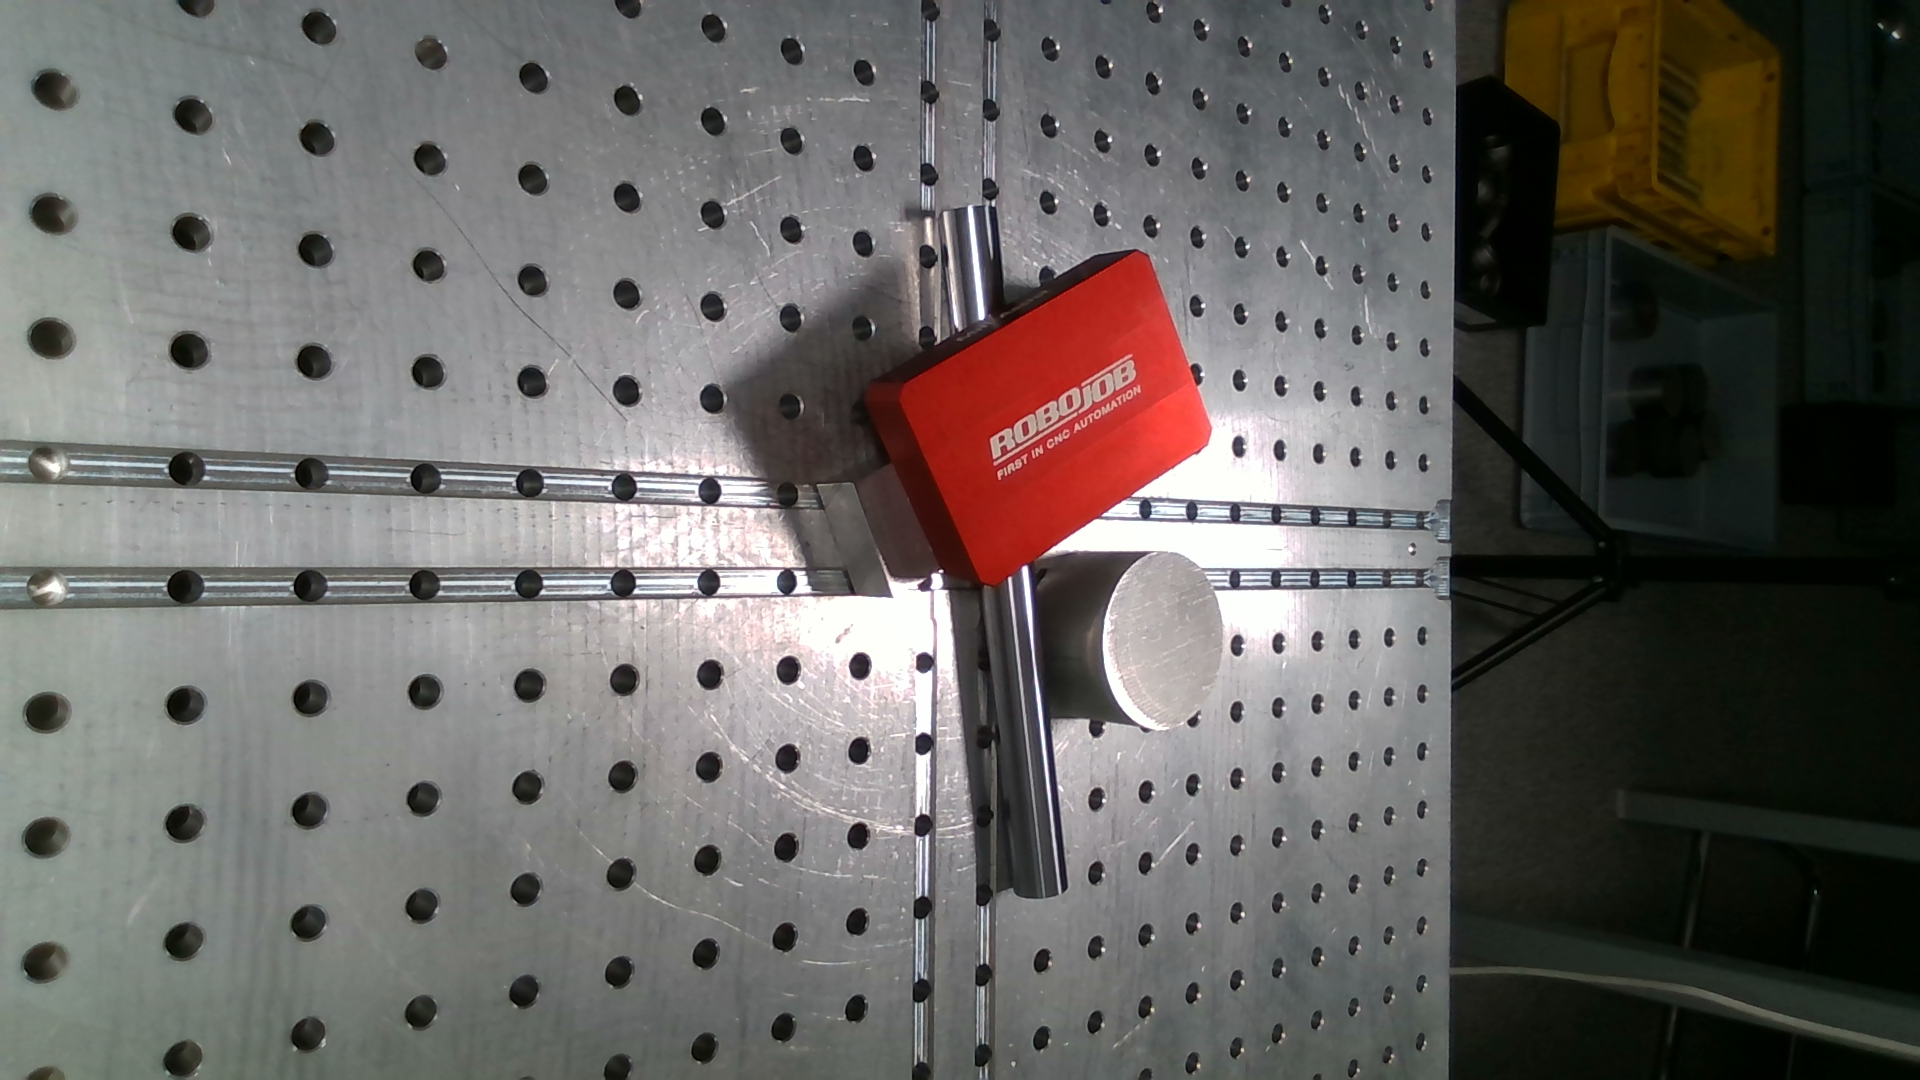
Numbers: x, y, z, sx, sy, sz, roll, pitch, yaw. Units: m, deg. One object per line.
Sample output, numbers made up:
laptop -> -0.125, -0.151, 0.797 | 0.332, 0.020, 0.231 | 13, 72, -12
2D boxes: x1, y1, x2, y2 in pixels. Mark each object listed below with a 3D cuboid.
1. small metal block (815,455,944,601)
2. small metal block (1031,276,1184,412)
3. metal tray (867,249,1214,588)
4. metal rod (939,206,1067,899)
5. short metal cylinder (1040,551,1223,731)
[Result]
small metal block -> -0.025, -0.009, 0.564 | 0.050, 0.025, 0.050 | -30, 109, -36
small metal block -> 0.067, -0.088, 0.626 | 0.025, 0.050, 0.050 | -39, 114, -33
metal tray -> 0.036, -0.051, 0.562 | 0.130, 0.030, 0.090 | -33, 111, -23
metal rod -> 0.019, 0.008, 0.603 | 0.025, 0.025, 0.300 | -11, 97, -40
short metal cylinder -> 0.076, 0.045, 0.633 | 0.080, 0.050, 0.080 | 0, 90, -40
